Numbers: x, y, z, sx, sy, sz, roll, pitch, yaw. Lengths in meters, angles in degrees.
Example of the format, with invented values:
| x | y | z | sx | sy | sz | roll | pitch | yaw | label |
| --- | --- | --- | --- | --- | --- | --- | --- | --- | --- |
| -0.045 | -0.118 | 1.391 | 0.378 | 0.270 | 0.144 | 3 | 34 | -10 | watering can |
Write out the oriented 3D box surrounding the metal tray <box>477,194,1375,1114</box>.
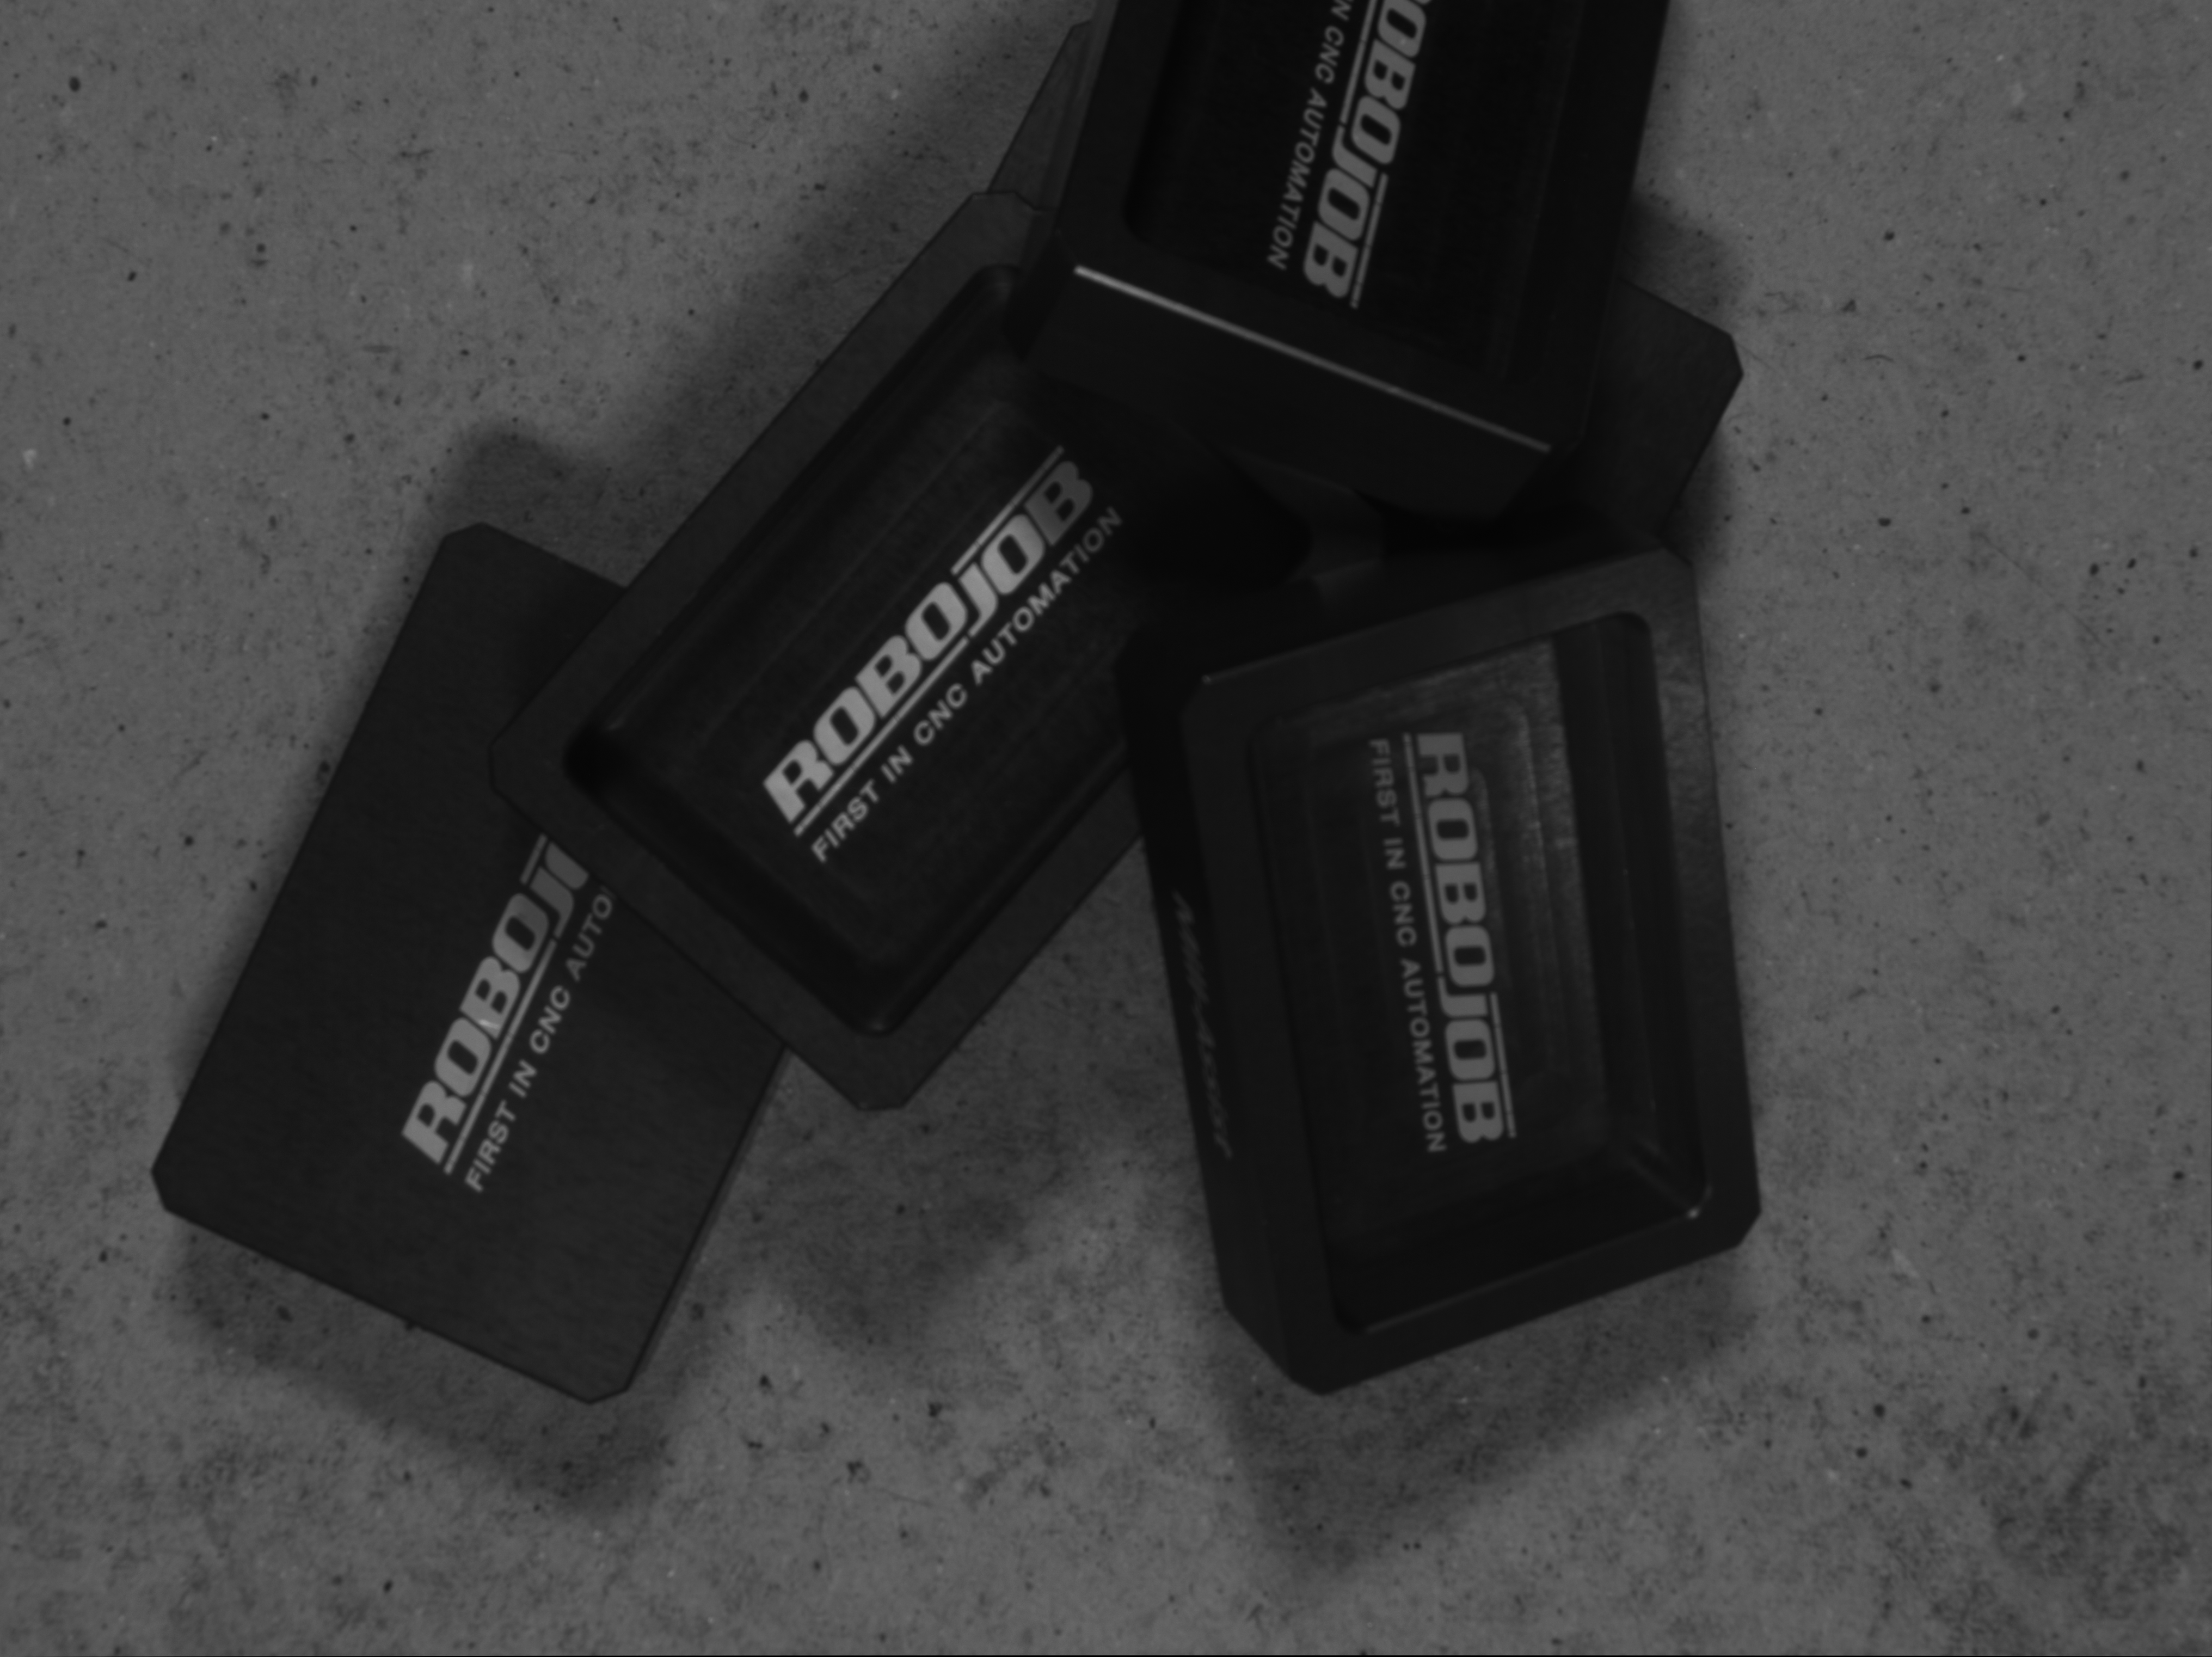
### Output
| x | y | z | sx | sy | sz | roll | pitch | yaw | label |
| --- | --- | --- | --- | --- | --- | --- | --- | --- | --- |
| -0.029 | -0.029 | 0.613 | 0.090 | 0.030 | 0.130 | 41 | 90 | 0 | metal tray |

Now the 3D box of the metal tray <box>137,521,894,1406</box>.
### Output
| x | y | z | sx | sy | sz | roll | pitch | yaw | label |
| --- | --- | --- | --- | --- | --- | --- | --- | --- | --- |
| -0.100 | 0.023 | 0.641 | 0.090 | 0.030 | 0.130 | 25 | 90 | 0 | metal tray |

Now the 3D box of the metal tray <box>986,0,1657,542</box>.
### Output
| x | y | z | sx | sy | sz | roll | pitch | yaw | label |
| --- | --- | --- | --- | --- | --- | --- | --- | --- | --- |
| 0.040 | -0.121 | 0.609 | 0.090 | 0.030 | 0.130 | 20 | 62 | -10 | metal tray |

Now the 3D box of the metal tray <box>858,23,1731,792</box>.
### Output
| x | y | z | sx | sy | sz | roll | pitch | yaw | label |
| --- | --- | --- | --- | --- | --- | --- | --- | --- | --- |
| 0.031 | -0.072 | 0.643 | 0.130 | 0.030 | 0.090 | 27 | 90 | 0 | metal tray |

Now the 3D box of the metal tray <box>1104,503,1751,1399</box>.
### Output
| x | y | z | sx | sy | sz | roll | pitch | yaw | label |
| --- | --- | --- | --- | --- | --- | --- | --- | --- | --- |
| 0.056 | 0.021 | 0.609 | 0.090 | 0.030 | 0.130 | -17 | 114 | -16 | metal tray |
